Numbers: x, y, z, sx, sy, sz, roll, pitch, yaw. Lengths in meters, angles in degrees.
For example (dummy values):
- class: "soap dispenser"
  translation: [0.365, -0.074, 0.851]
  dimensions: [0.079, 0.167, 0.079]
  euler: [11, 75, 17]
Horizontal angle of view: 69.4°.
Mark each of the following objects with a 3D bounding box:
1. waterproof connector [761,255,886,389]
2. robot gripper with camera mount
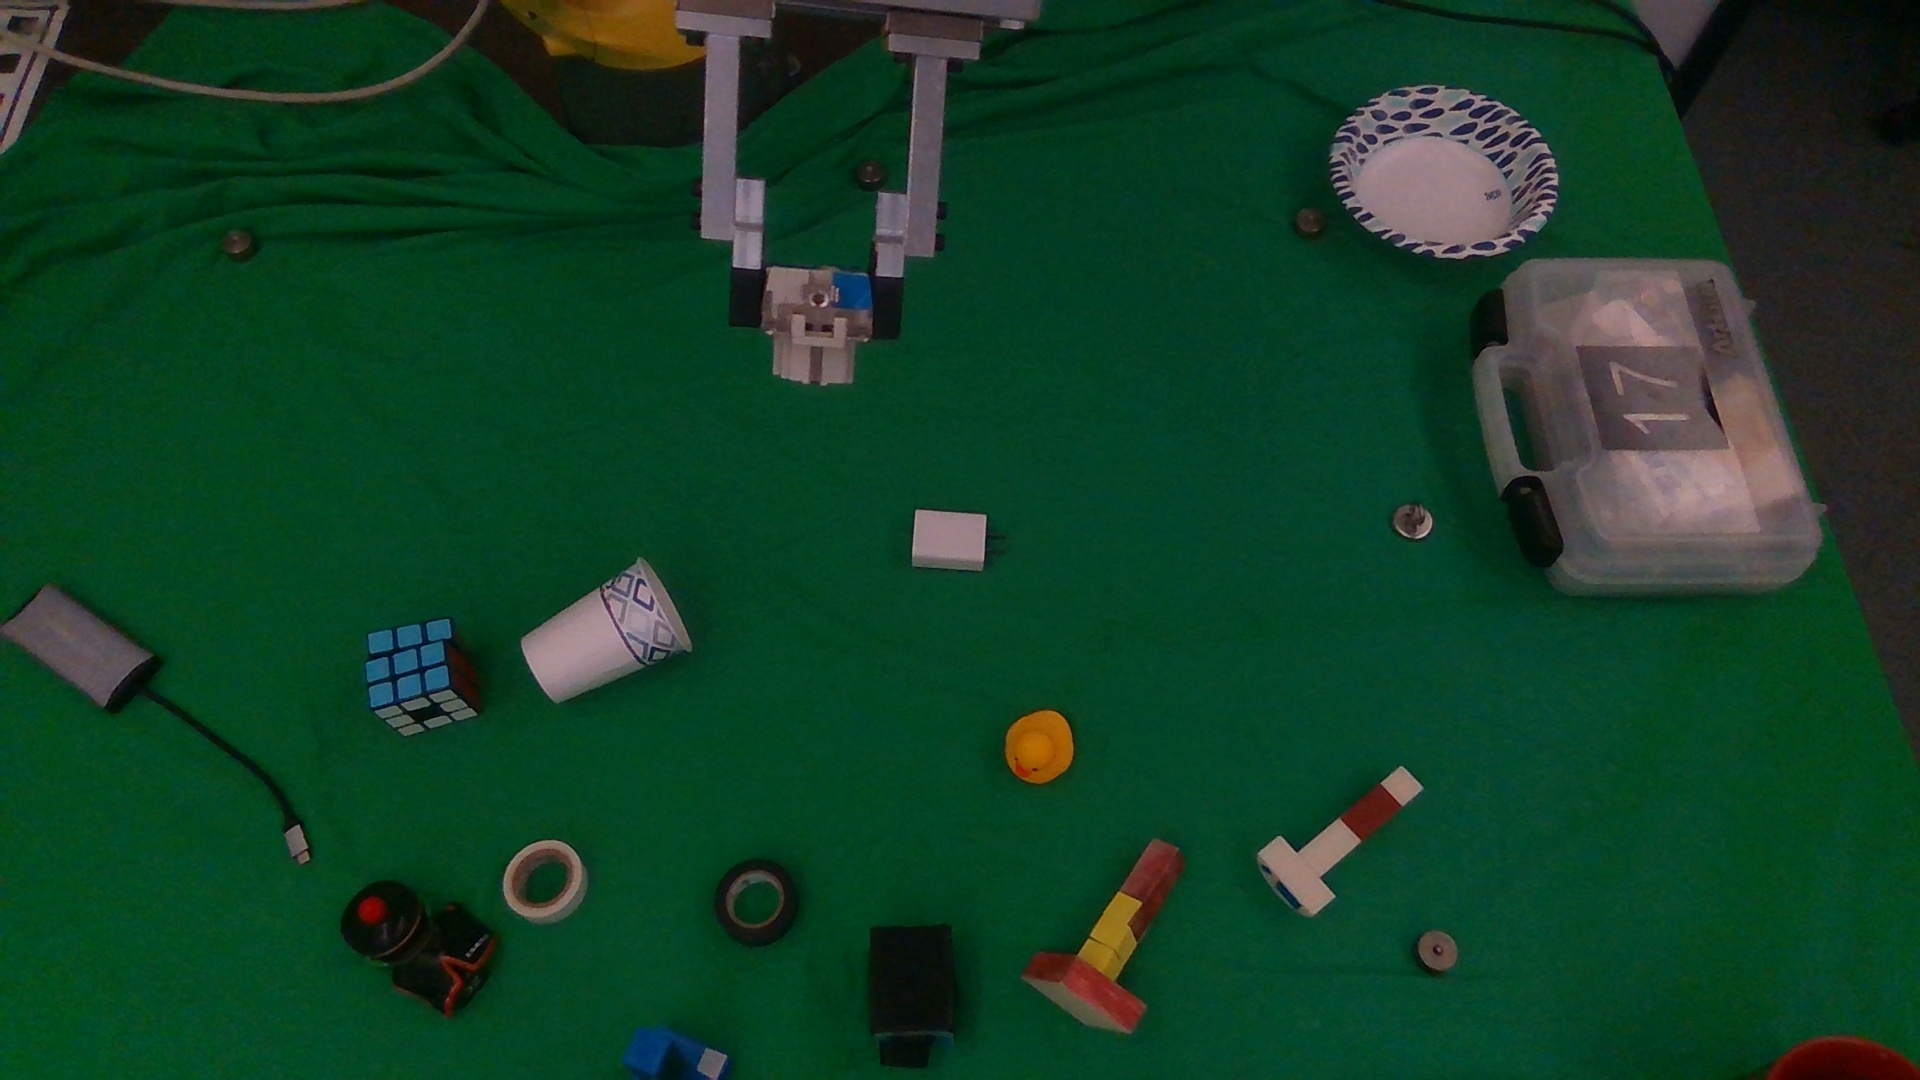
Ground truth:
- class: "waterproof connector"
  translation: [-0.044, -0.068, 0.432]
  dimensions: [0.035, 0.065, 0.037]
  euler: [5, 102, -13]
- class: "robot gripper with camera mount"
  translation: [-0.019, -0.123, 0.337]
  dimensions: [0.119, 0.193, 0.158]
  euler: [4, 102, -10]
